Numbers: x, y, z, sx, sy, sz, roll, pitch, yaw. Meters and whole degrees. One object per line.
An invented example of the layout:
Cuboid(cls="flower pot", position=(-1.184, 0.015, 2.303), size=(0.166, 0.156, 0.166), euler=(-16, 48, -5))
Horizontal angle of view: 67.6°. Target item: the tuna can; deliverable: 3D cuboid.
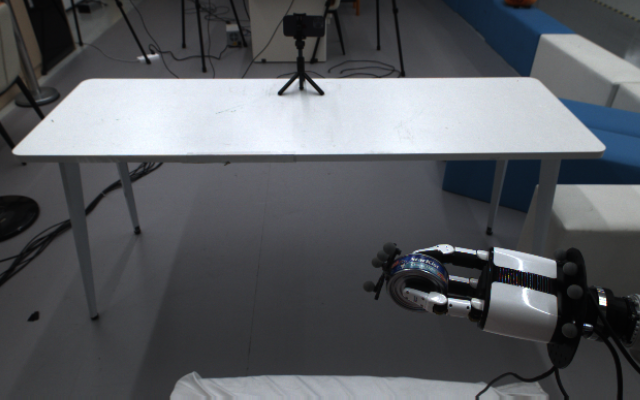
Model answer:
Cuboid(cls="tuna can", position=(0.140, 0.115, 0.682), size=(0.085, 0.085, 0.034), euler=(9, 35, 9))
